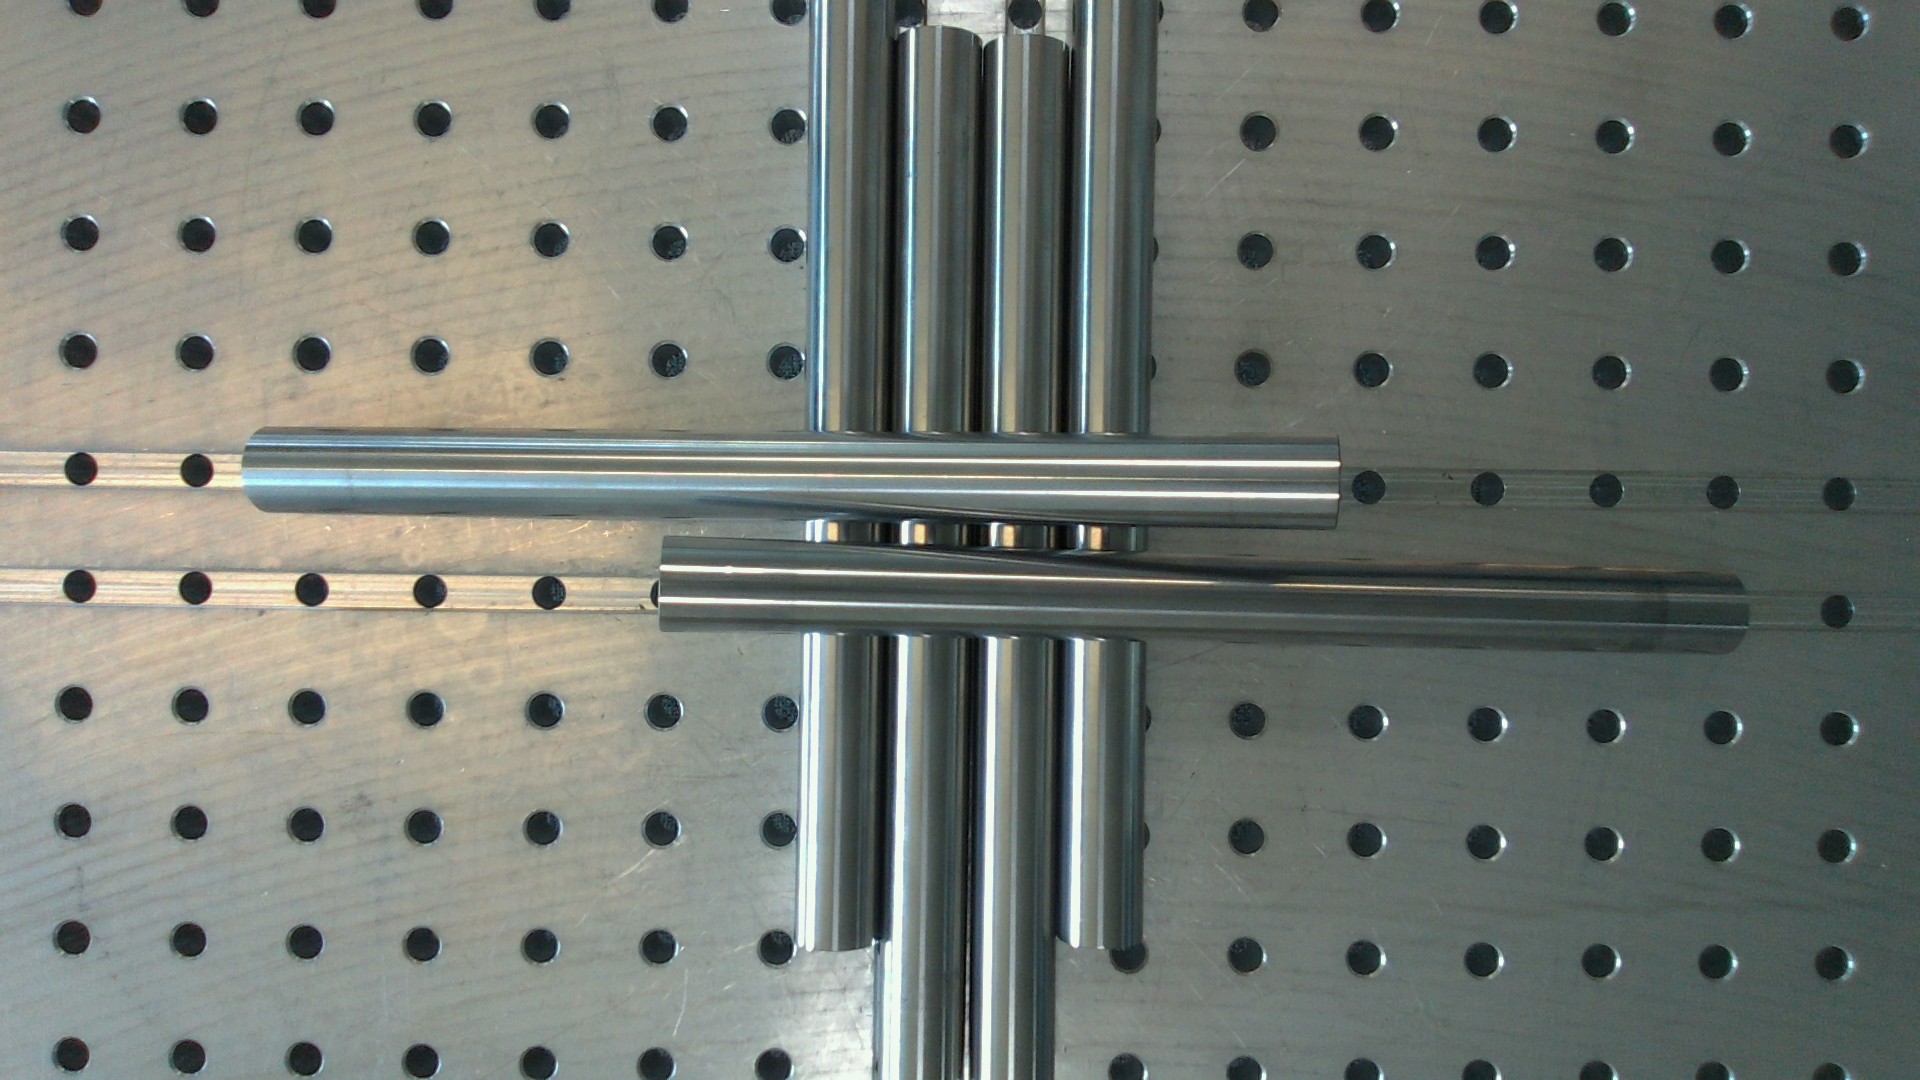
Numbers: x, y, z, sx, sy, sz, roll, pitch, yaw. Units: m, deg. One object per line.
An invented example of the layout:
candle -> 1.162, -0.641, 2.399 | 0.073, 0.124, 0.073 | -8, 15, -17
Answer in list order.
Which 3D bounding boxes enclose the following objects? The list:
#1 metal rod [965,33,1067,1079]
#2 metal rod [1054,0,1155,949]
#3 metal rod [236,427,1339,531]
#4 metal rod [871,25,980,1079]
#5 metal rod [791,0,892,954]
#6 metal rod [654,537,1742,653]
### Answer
metal rod -> 0.016, 0.008, 0.399 | 0.025, 0.025, 0.300 | 1, 90, 0
metal rod -> 0.042, -0.036, 0.397 | 0.025, 0.025, 0.300 | 1, 90, 0
metal rod -> -0.053, -0.017, 0.374 | 0.300, 0.025, 0.025 | 1, 90, 9
metal rod -> -0.010, 0.006, 0.396 | 0.025, 0.025, 0.300 | 1, 90, 0
metal rod -> -0.034, -0.034, 0.397 | 0.025, 0.025, 0.300 | 1, 90, 0
metal rod -> 0.070, 0.016, 0.377 | 0.300, 0.025, 0.025 | 2, 90, -9
